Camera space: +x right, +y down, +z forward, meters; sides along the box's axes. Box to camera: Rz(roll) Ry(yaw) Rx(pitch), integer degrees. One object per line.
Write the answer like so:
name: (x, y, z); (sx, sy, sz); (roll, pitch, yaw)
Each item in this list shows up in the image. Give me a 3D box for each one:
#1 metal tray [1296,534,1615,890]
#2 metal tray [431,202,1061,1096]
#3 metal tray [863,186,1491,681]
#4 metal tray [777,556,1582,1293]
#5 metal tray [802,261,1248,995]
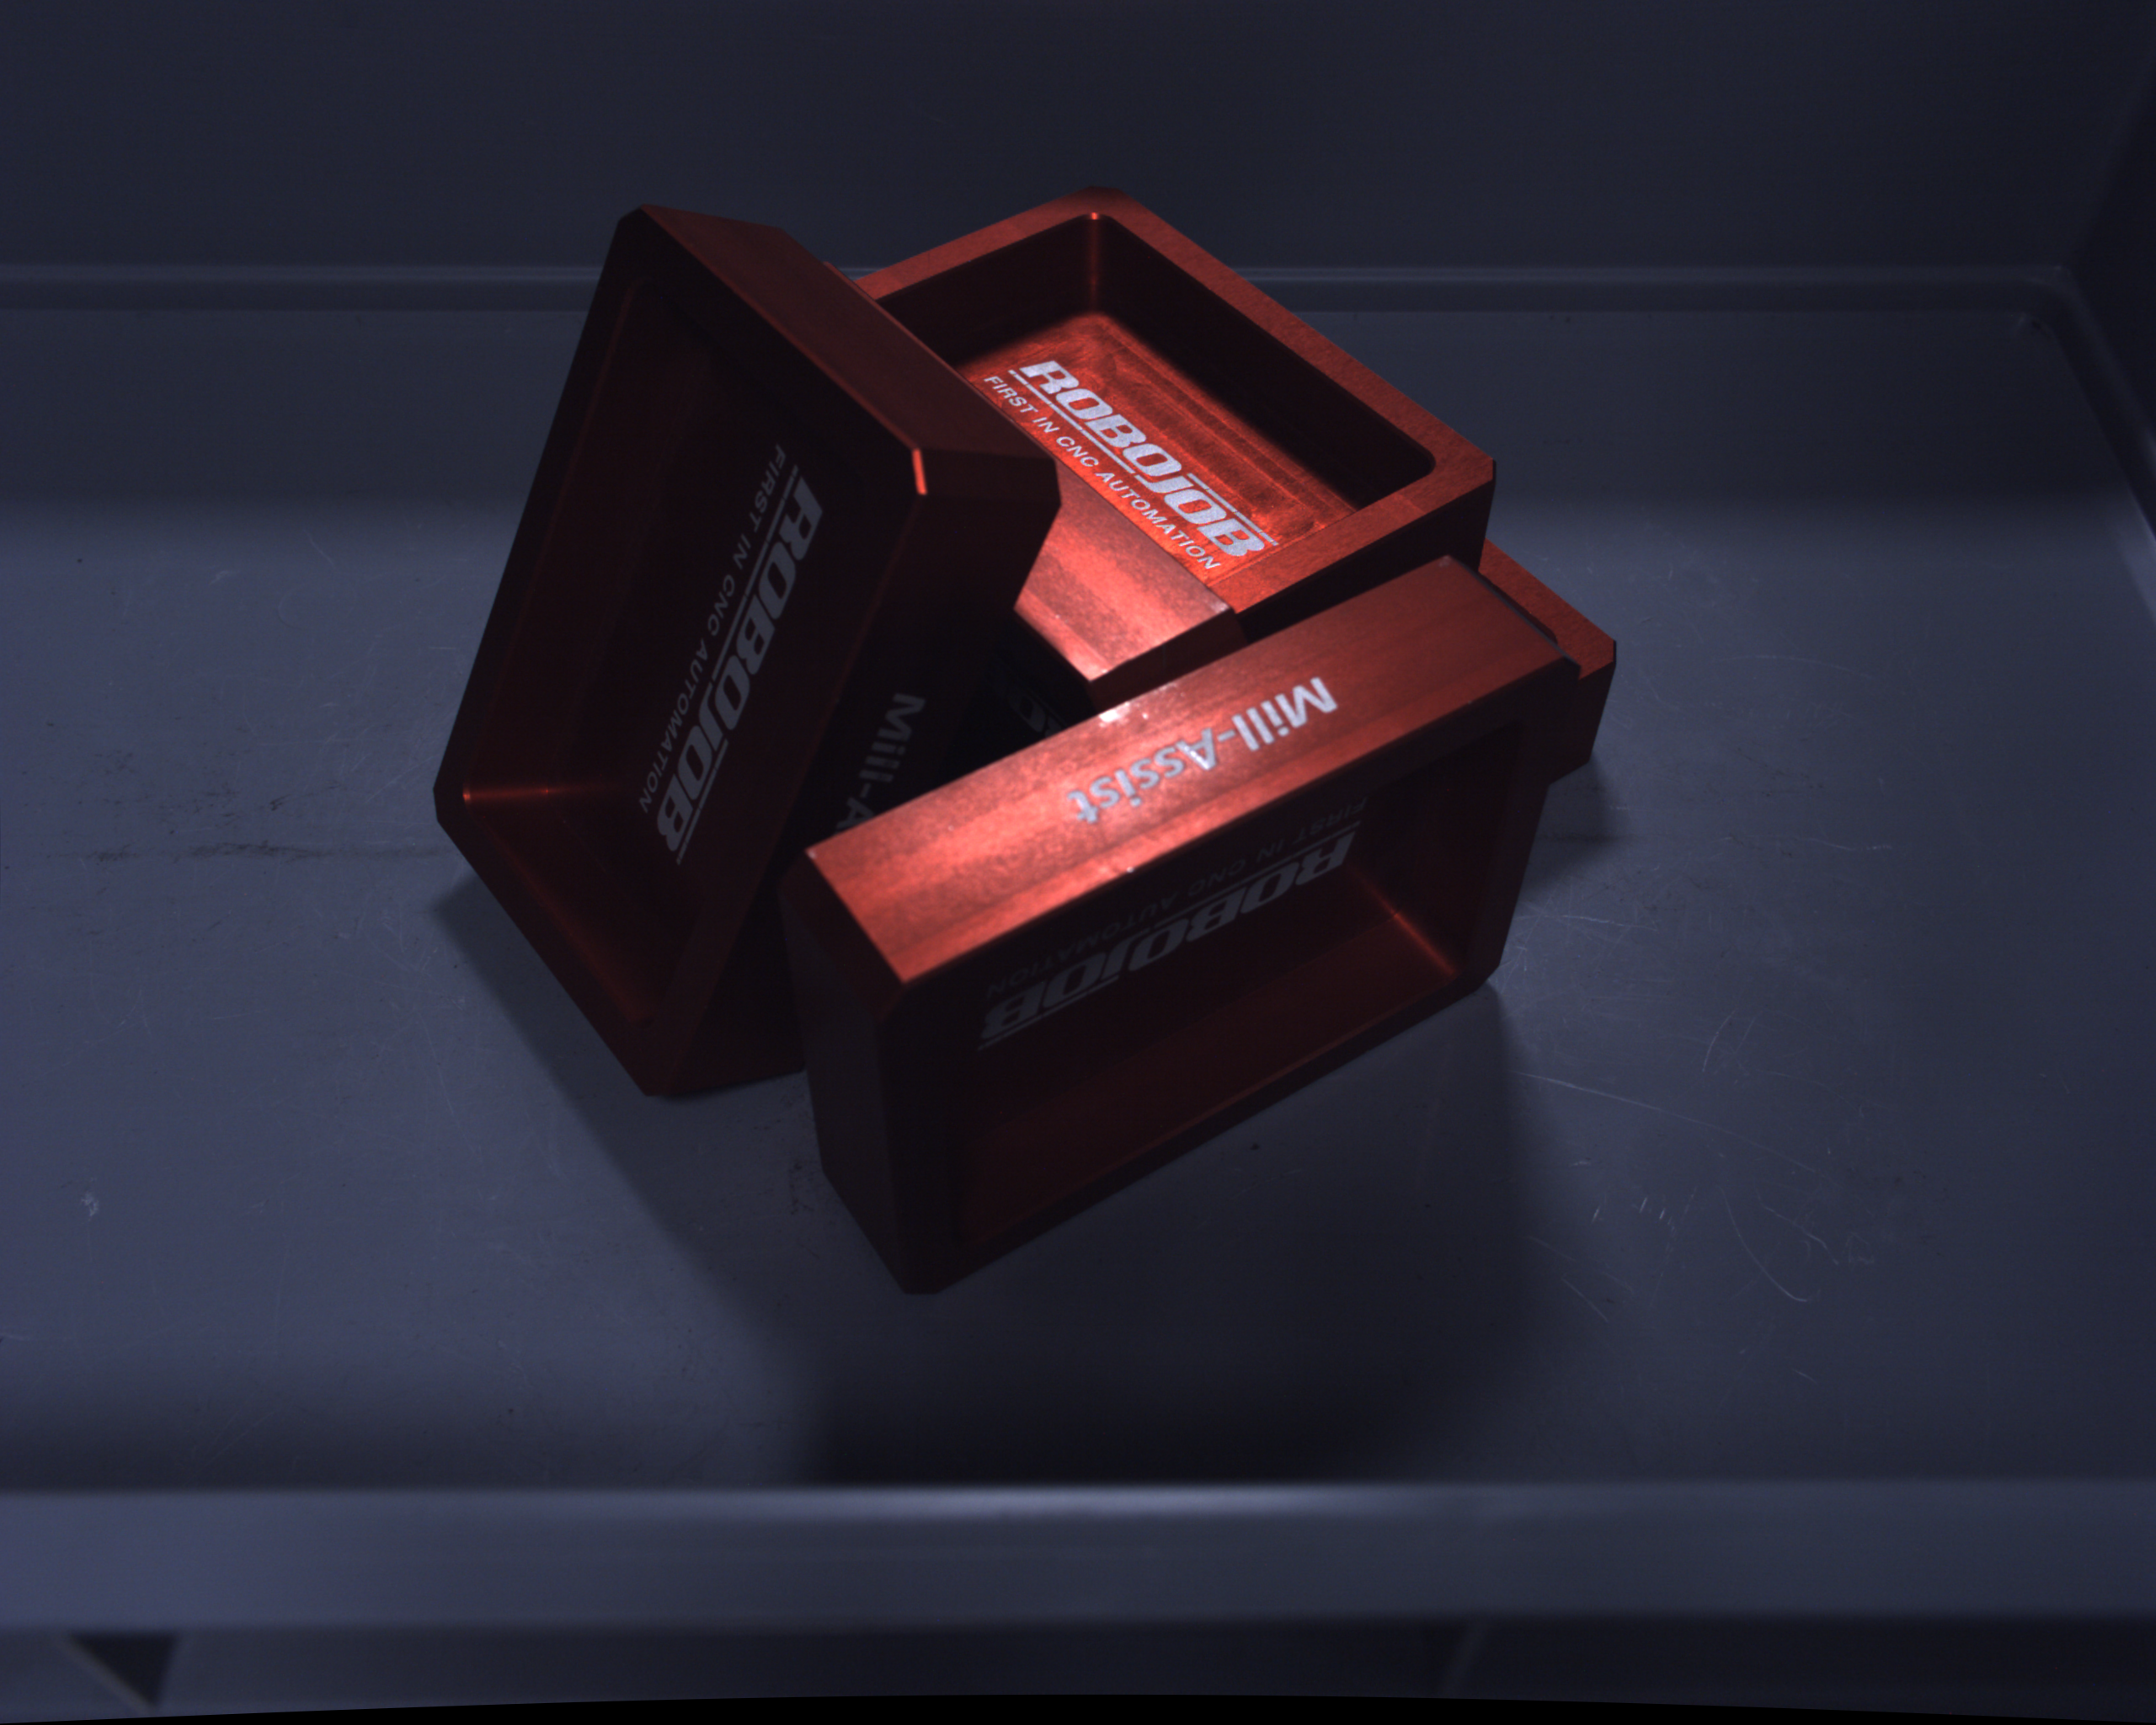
metal tray: (0.037, -0.053, 0.447); (0.091, 0.030, 0.130); (-28, 55, -20)
metal tray: (-0.064, -0.035, 0.366); (0.030, 0.129, 0.090); (-6, 42, -47)
metal tray: (0.009, -0.086, 0.433); (0.091, 0.030, 0.130); (-30, 56, -23)
metal tray: (0.018, 0.011, 0.351); (0.131, 0.089, 0.030); (-26, 55, -21)
metal tray: (-0.023, -0.043, 0.396); (0.030, 0.089, 0.130); (-30, 57, -23)
